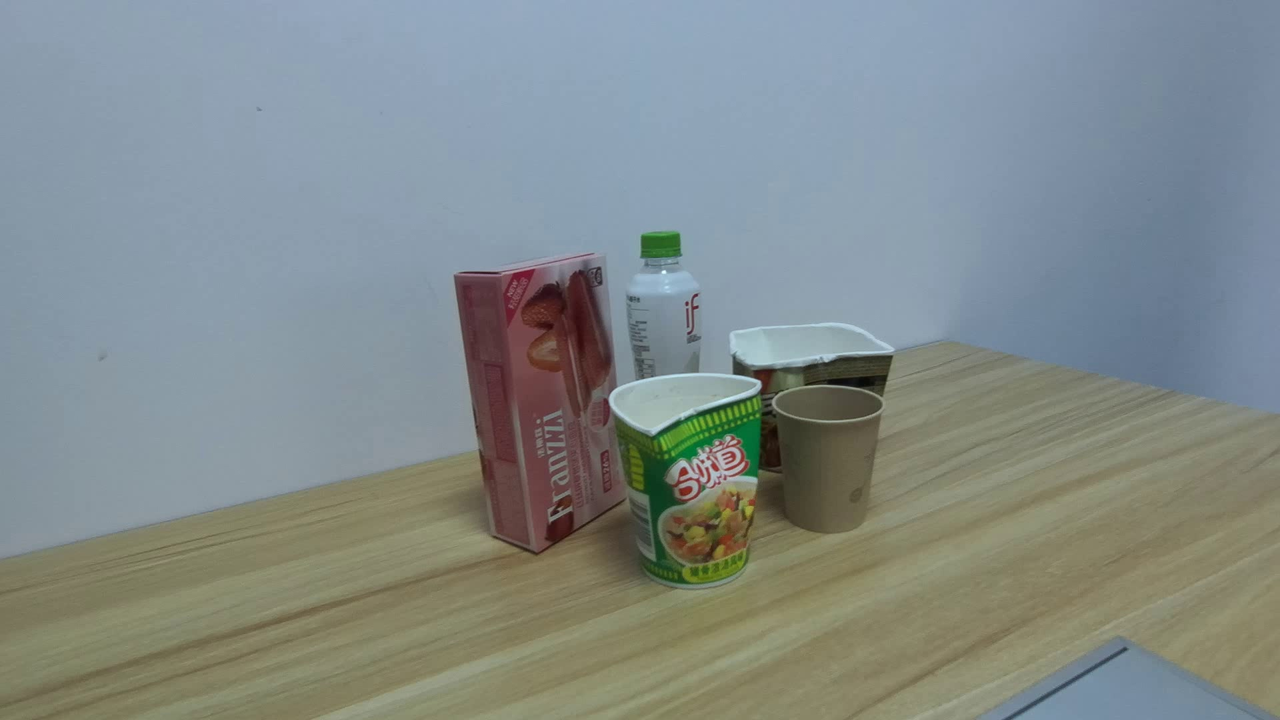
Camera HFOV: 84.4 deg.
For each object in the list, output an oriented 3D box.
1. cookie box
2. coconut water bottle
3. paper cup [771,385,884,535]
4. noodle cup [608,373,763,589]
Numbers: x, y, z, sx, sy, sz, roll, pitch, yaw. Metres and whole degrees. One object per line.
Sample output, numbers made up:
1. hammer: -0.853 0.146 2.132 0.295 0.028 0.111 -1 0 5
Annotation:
1. cookie box: -0.062 0.025 0.486 0.048 0.184 0.096 6 18 38
2. coconut water bottle: 0.022 -0.004 0.559 0.063 0.188 0.063 -4 12 1
3. paper cup: 0.125 0.067 0.475 0.075 0.082 0.075 -3 16 1
4. noodle cup: 0.032 0.071 0.432 0.094 0.109 0.086 -10 17 -17
